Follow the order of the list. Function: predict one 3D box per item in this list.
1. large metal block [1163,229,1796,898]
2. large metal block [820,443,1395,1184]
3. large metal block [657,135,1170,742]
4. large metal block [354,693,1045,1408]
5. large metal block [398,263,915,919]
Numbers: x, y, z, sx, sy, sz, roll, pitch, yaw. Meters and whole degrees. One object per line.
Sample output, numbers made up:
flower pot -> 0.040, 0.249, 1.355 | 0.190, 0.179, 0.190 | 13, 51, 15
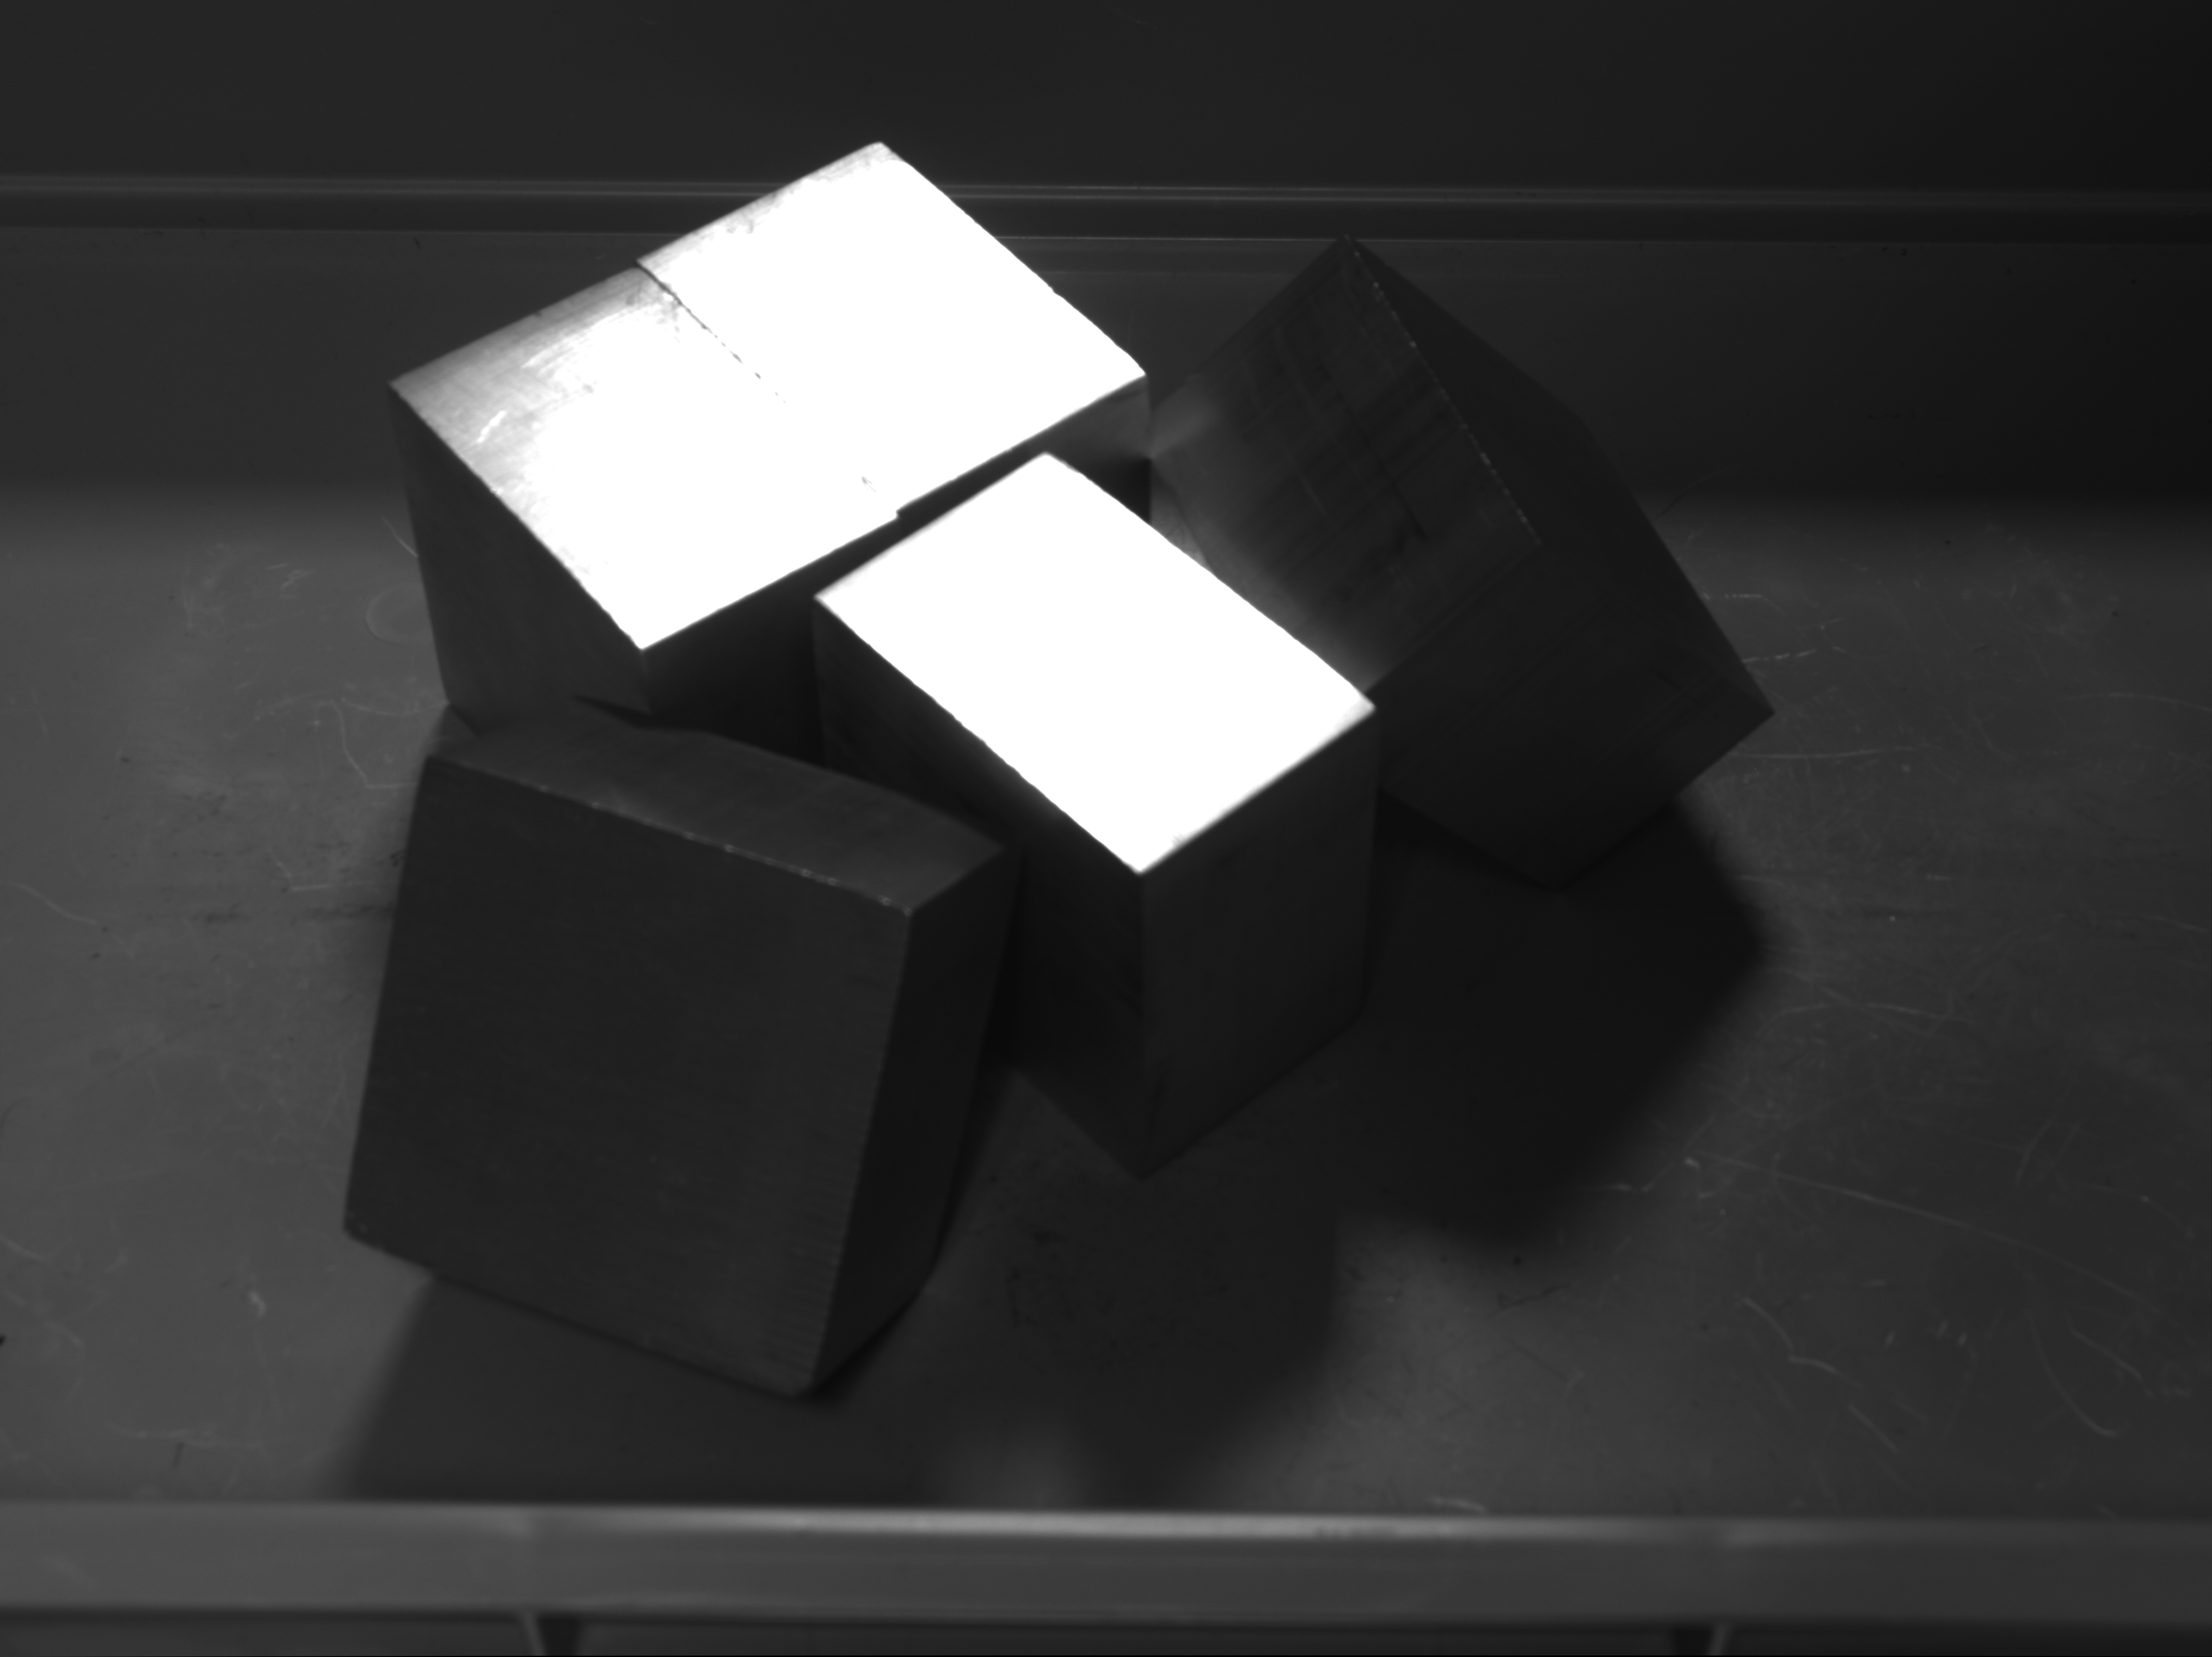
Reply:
large metal block -> 0.063, -0.045, 0.634 | 0.050, 0.080, 0.080 | -41, 50, 19
large metal block -> 0.000, -0.002, 0.606 | 0.050, 0.080, 0.080 | -34, 58, -25
large metal block -> -0.034, -0.063, 0.657 | 0.050, 0.080, 0.080 | -31, 56, -24
large metal block -> -0.063, 0.032, 0.569 | 0.080, 0.080, 0.050 | 17, 17, 14
large metal block -> -0.075, -0.037, 0.636 | 0.050, 0.080, 0.080 | -30, 56, -23
